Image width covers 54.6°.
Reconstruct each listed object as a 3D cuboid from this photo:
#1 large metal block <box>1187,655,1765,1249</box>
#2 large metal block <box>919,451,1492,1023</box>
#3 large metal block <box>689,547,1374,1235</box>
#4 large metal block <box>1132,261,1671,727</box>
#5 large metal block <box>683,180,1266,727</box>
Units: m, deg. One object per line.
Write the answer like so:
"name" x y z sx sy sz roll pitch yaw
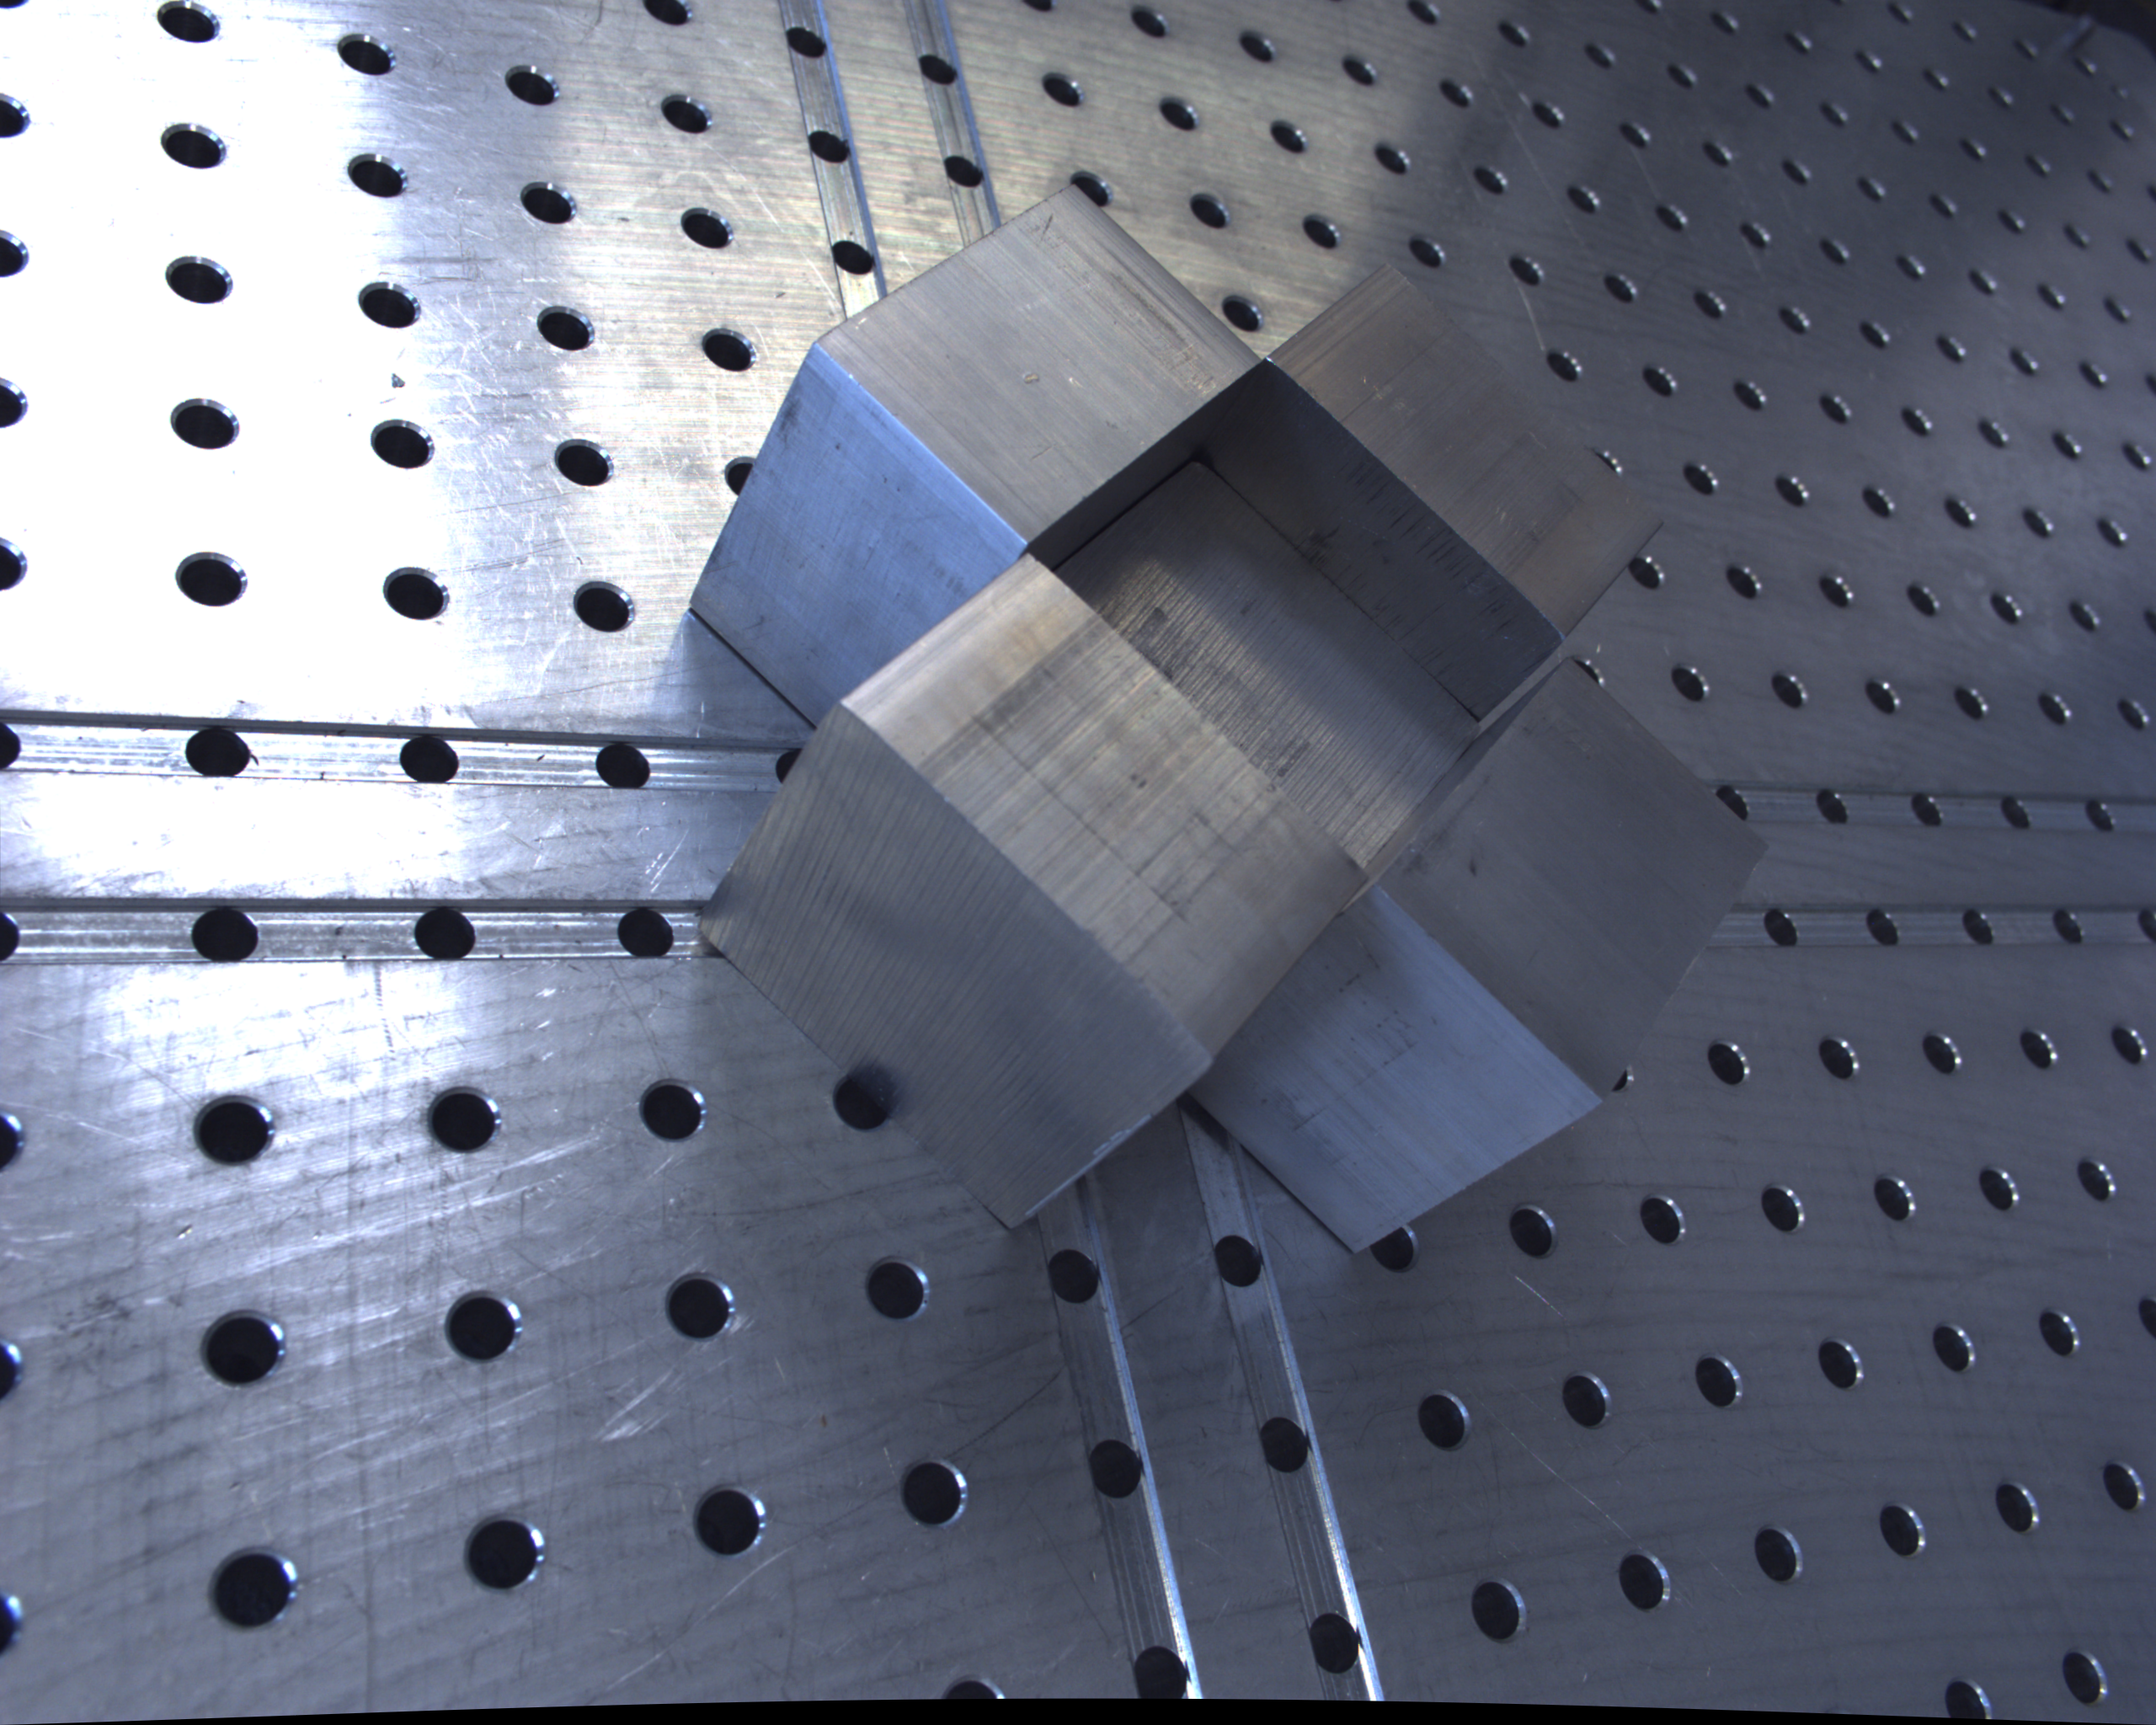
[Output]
"large metal block" 0.073 0.018 0.402 0.050 0.080 0.080 45 51 3
"large metal block" 0.021 -0.022 0.415 0.080 0.050 0.080 43 53 3
"large metal block" -0.011 0.007 0.362 0.080 0.080 0.050 44 51 1
"large metal block" 0.062 -0.065 0.445 0.080 0.080 0.050 44 51 1
"large metal block" -0.021 -0.073 0.406 0.050 0.080 0.080 44 51 2
